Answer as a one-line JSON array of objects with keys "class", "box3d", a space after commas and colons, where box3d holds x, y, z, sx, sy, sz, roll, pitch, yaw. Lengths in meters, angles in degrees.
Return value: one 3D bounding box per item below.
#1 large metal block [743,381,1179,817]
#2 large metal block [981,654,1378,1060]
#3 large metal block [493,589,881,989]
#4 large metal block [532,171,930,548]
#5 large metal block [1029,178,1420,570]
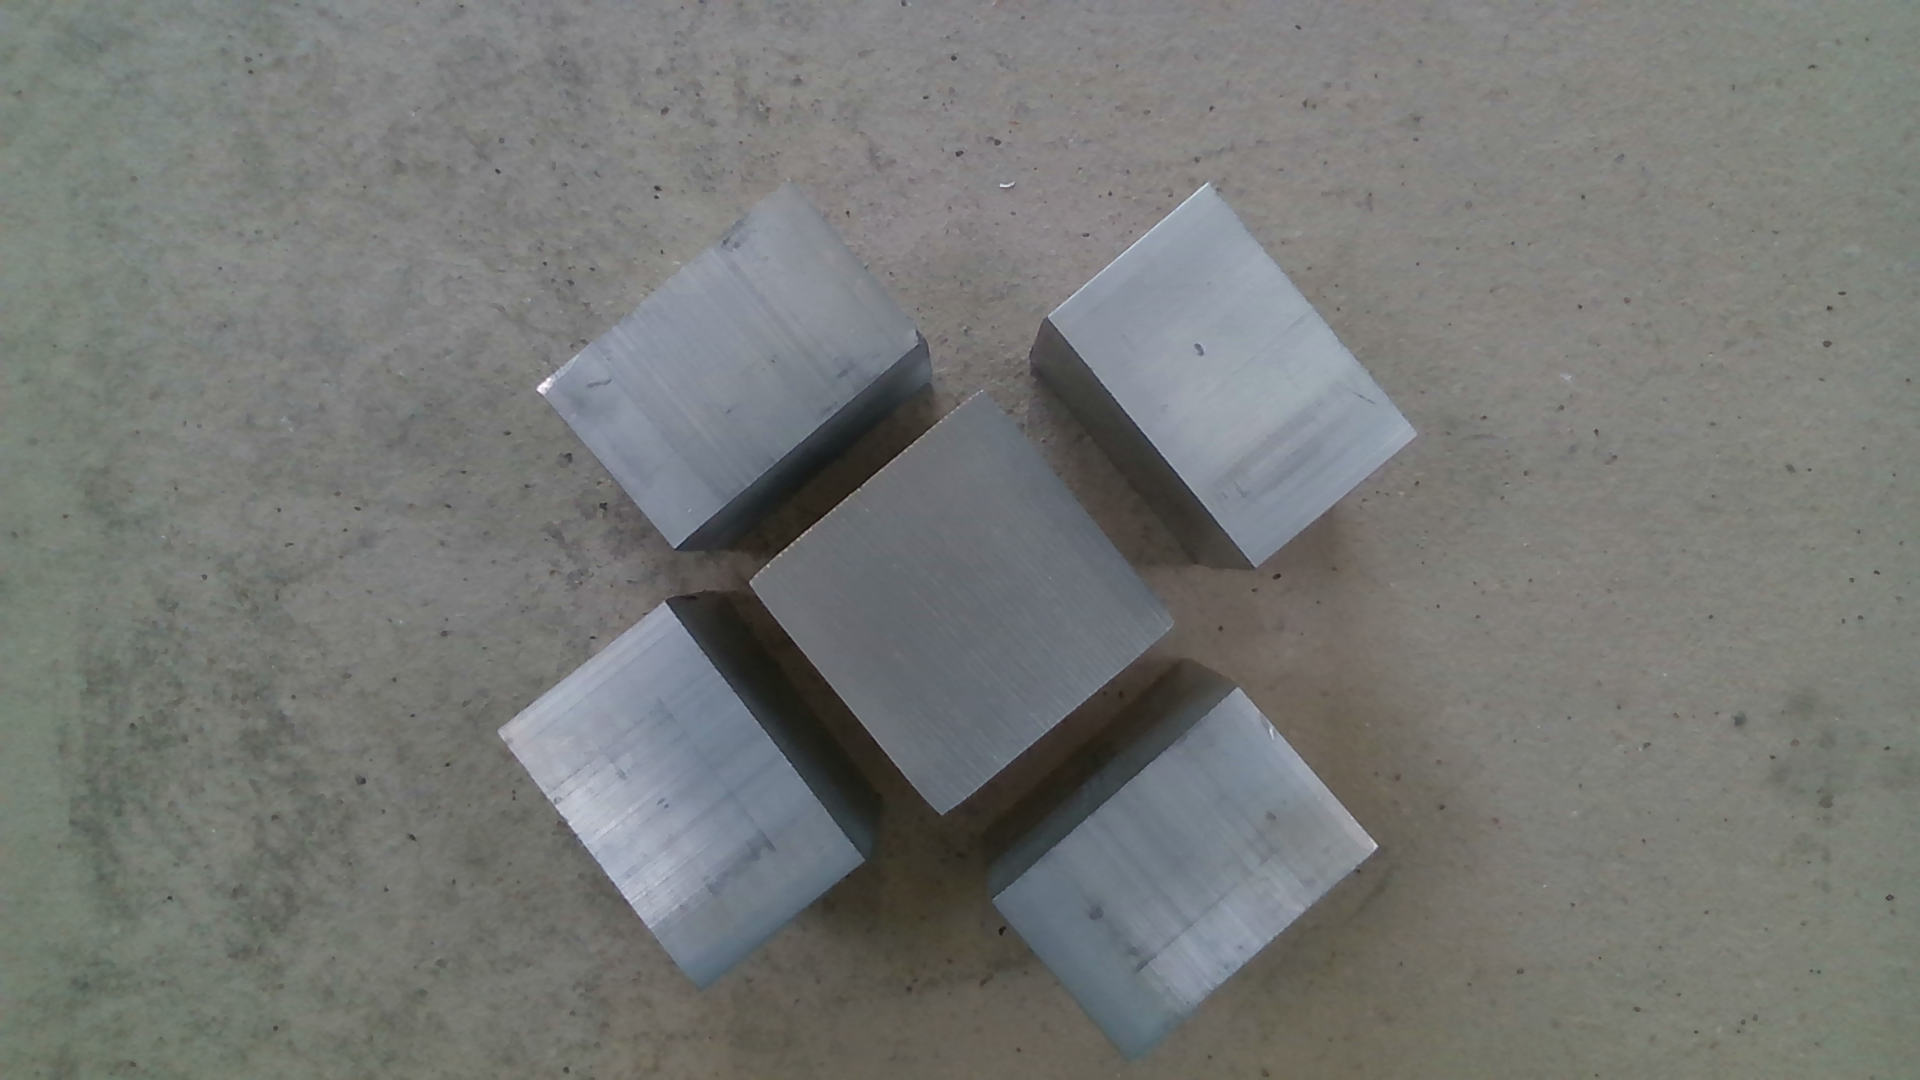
[{"class": "large metal block", "box3d": [0.000, 0.015, 0.380, 0.080, 0.050, 0.080, -40, 90, 0]}, {"class": "large metal block", "box3d": [0.053, 0.079, 0.368, 0.080, 0.080, 0.050, -41, 91, 0]}, {"class": "large metal block", "box3d": [-0.067, 0.060, 0.368, 0.050, 0.080, 0.080, -38, 90, -1]}, {"class": "large metal block", "box3d": [-0.055, -0.043, 0.367, 0.080, 0.080, 0.050, -40, 90, 0]}, {"class": "large metal block", "box3d": [0.065, -0.040, 0.368, 0.050, 0.080, 0.080, -40, 90, 0]}]
